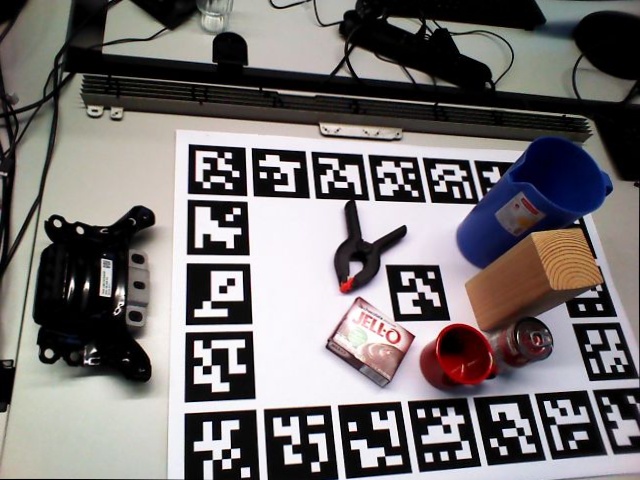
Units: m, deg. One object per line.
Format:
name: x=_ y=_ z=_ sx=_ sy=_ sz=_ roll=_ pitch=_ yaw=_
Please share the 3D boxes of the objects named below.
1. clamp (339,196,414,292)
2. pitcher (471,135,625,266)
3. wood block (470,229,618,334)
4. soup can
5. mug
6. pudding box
clamp: x=0.081 y=0.015 z=0.873 sx=0.122 sy=0.037 sz=0.164 roll=31 pitch=62 yaw=-4
pitcher: x=0.351 y=-0.044 z=0.837 sx=0.189 sy=0.244 sz=0.132 roll=0 pitch=62 yaw=-9
wood block: x=0.331 y=0.070 z=0.793 sx=0.090 sy=0.207 sz=0.090 roll=0 pitch=64 yaw=-16
soup can: x=0.310 y=0.173 z=0.797 sx=0.068 sy=0.102 sz=0.067 roll=4 pitch=66 yaw=-10
mug: x=0.218 y=0.193 z=0.781 sx=0.117 sy=0.082 sz=0.092 roll=33 pitch=59 yaw=7
pudding box: x=0.071 y=0.156 z=0.795 sx=0.114 sy=0.039 sz=0.089 roll=35 pitch=65 yaw=7
